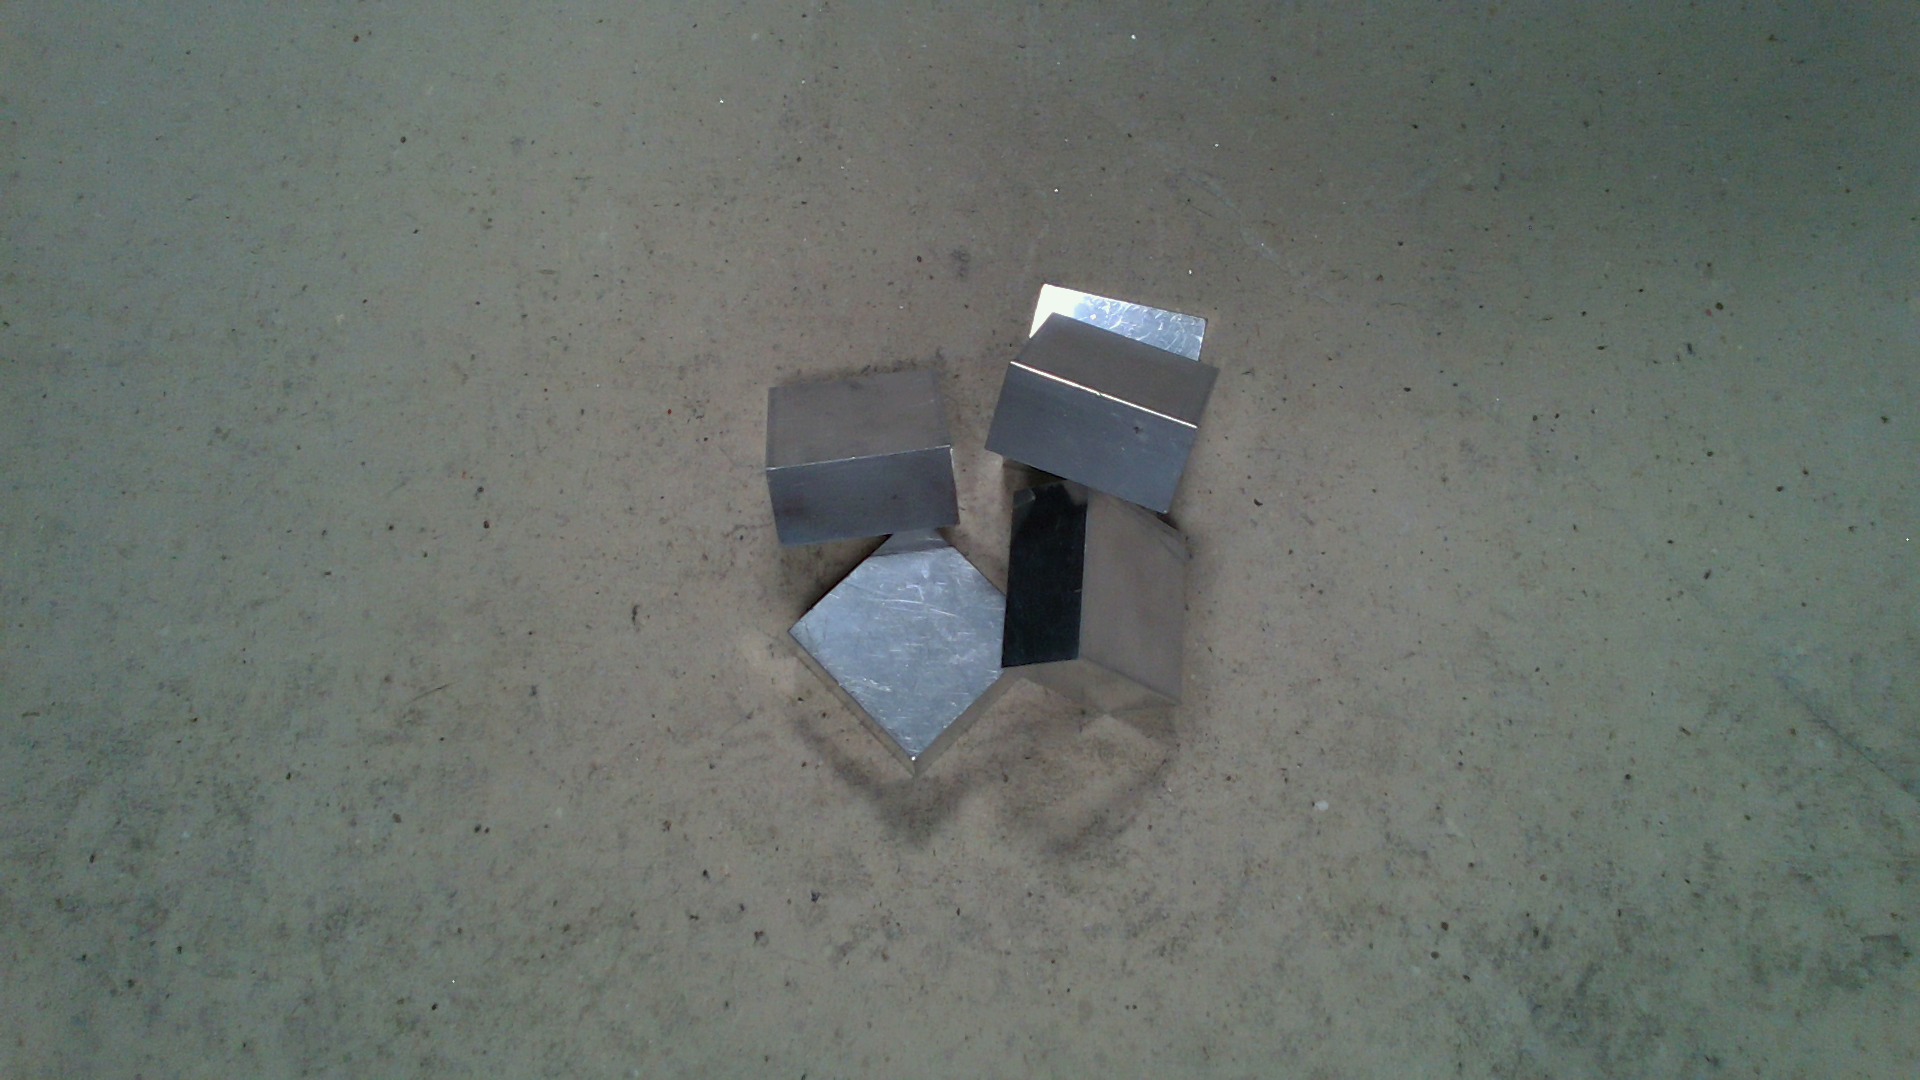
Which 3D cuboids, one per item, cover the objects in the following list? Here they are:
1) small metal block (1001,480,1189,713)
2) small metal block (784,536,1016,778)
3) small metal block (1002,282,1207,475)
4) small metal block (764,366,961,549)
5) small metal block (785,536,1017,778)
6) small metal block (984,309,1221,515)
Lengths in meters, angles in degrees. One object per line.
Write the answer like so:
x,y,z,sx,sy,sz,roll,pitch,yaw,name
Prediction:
0.038,0.016,0.373,0.025,0.050,0.050,-12,64,37,small metal block
-0.012,0.029,0.384,0.050,0.025,0.050,-43,75,-14,small metal block
0.043,-0.044,0.411,0.050,0.025,0.050,13,70,5,small metal block
-0.028,-0.024,0.390,0.050,0.025,0.050,-7,32,-3,small metal block
-0.012,0.029,0.384,0.050,0.025,0.050,-43,76,-14,small metal block
0.039,-0.036,0.367,0.050,0.025,0.050,20,28,7,small metal block
